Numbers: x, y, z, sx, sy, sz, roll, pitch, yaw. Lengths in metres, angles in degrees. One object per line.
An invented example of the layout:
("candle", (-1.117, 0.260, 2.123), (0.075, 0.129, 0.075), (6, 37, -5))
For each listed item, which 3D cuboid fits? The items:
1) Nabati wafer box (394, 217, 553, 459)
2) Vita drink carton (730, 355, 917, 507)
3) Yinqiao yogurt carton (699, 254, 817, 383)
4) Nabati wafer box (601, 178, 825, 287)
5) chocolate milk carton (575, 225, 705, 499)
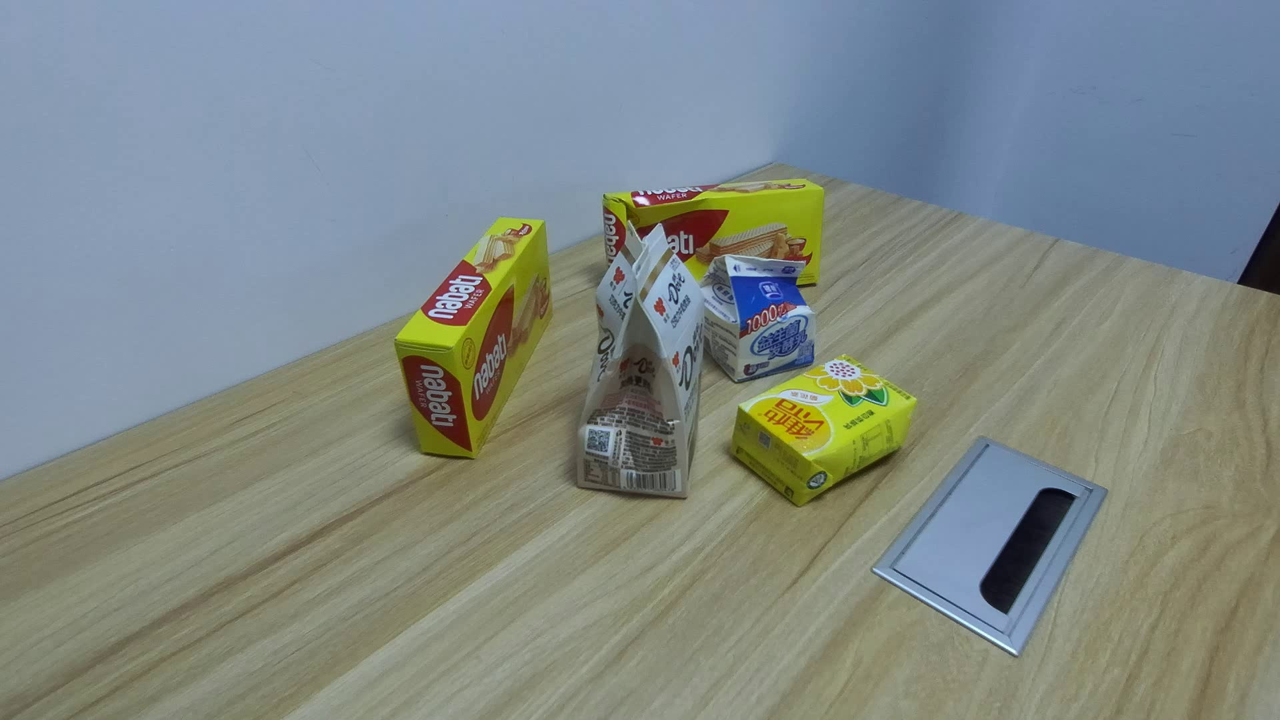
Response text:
("Nabati wafer box", (-0.113, -0.026, 0.533), (0.042, 0.093, 0.203), (5, 34, 9))
("Vita drink carton", (0.124, 0.046, 0.469), (0.109, 0.043, 0.076), (-21, 42, -32))
("Yinqiao yogurt carton", (0.090, -0.045, 0.554), (0.083, 0.093, 0.077), (-13, 36, -18))
("Nabati wafer box", (0.070, -0.111, 0.657), (0.204, 0.096, 0.042), (-7, 24, -12))
("chocolate milk carton", (0.001, 0.002, 0.433), (0.073, 0.155, 0.084), (6, 33, 7))
